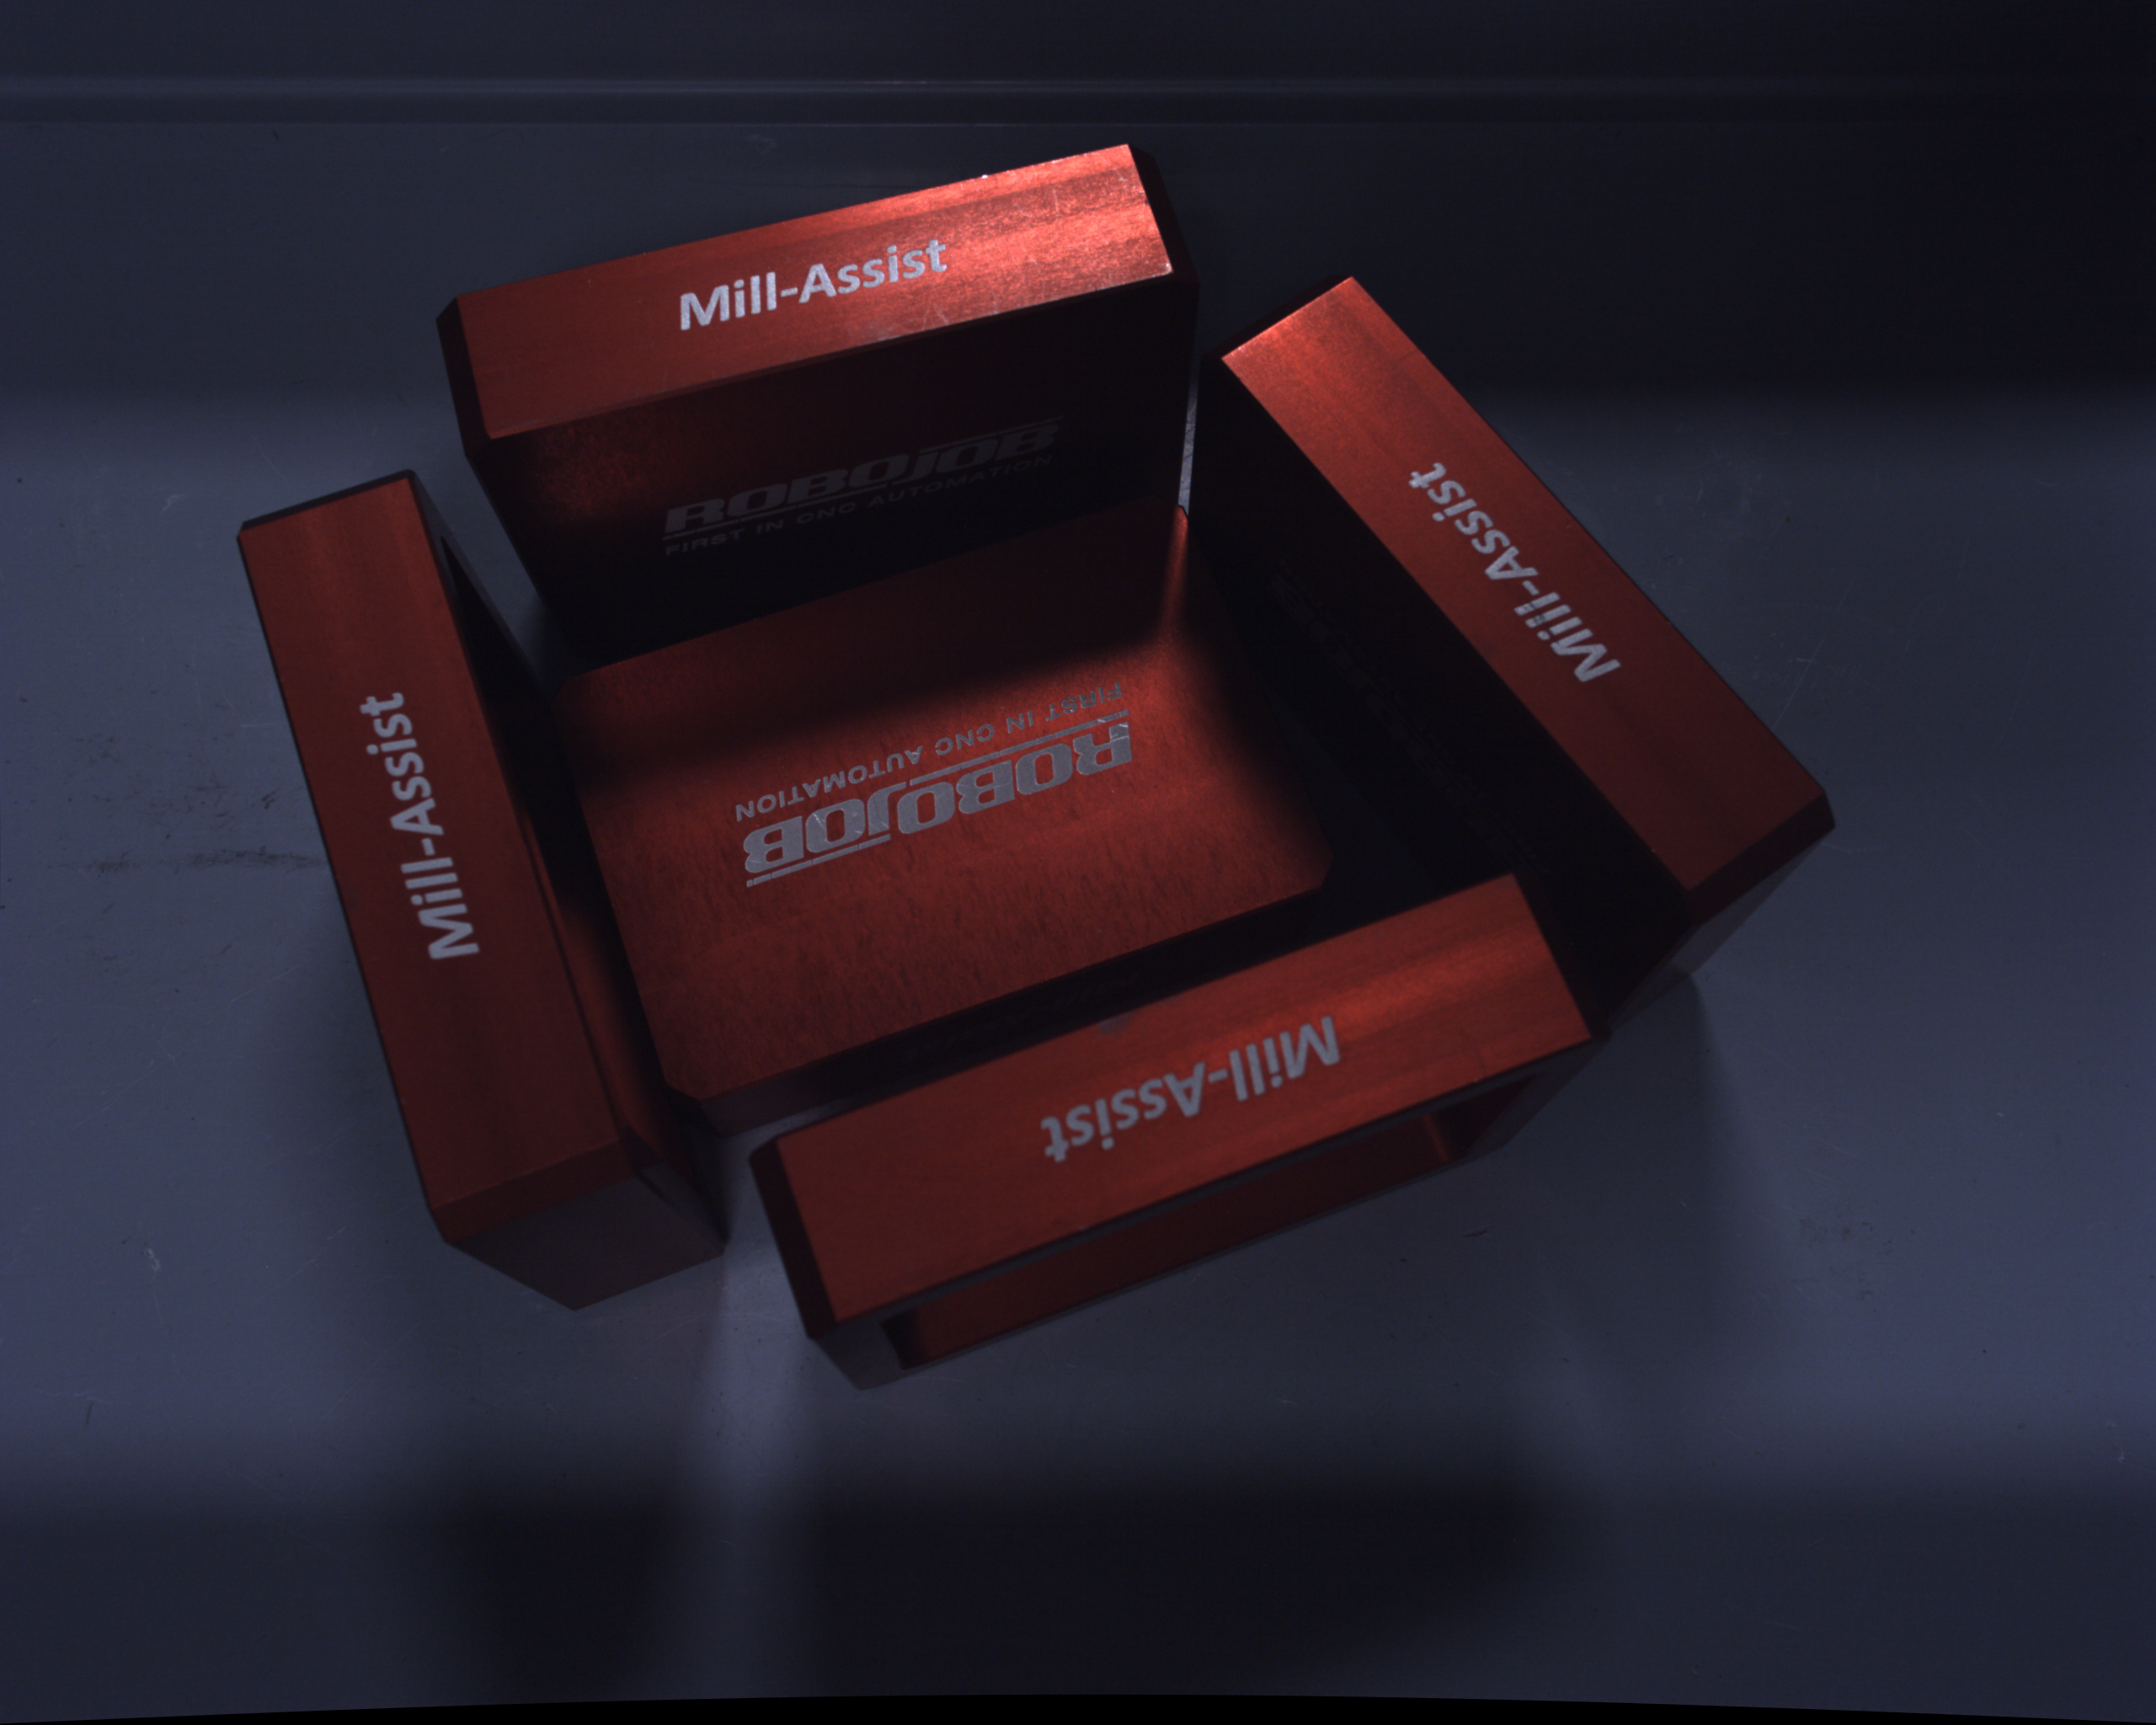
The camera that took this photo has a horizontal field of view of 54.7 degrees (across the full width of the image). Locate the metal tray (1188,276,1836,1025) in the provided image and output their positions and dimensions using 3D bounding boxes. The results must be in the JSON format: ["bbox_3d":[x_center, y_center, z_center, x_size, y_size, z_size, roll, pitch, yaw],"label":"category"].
[{"bbox_3d":[0.072,-0.034,0.387,0.030,0.090,0.130,-35,74,-11],"label":"metal tray"}]

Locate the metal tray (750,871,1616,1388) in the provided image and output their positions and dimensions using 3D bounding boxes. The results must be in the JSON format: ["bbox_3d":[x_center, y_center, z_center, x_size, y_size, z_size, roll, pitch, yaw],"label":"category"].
[{"bbox_3d":[0.017,0.049,0.355,0.131,0.090,0.030,-19,72,-7],"label":"metal tray"}]

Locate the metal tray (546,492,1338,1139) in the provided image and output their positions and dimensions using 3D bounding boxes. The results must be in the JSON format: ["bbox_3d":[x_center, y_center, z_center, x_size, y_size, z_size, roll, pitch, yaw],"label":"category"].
[{"bbox_3d":[-0.027,-0.011,0.408,0.131,0.030,0.090,-19,71,-7],"label":"metal tray"}]

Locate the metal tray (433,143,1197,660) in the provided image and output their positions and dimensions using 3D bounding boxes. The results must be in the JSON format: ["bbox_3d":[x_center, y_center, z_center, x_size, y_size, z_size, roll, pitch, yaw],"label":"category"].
[{"bbox_3d":[-0.046,-0.085,0.404,0.131,0.090,0.030,-15,71,-6],"label":"metal tray"}]

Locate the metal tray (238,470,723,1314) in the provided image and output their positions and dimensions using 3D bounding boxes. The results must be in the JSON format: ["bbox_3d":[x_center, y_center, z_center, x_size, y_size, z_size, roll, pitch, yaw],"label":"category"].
[{"bbox_3d":[-0.103,0.008,0.369,0.030,0.090,0.130,-20,72,-7],"label":"metal tray"}]
